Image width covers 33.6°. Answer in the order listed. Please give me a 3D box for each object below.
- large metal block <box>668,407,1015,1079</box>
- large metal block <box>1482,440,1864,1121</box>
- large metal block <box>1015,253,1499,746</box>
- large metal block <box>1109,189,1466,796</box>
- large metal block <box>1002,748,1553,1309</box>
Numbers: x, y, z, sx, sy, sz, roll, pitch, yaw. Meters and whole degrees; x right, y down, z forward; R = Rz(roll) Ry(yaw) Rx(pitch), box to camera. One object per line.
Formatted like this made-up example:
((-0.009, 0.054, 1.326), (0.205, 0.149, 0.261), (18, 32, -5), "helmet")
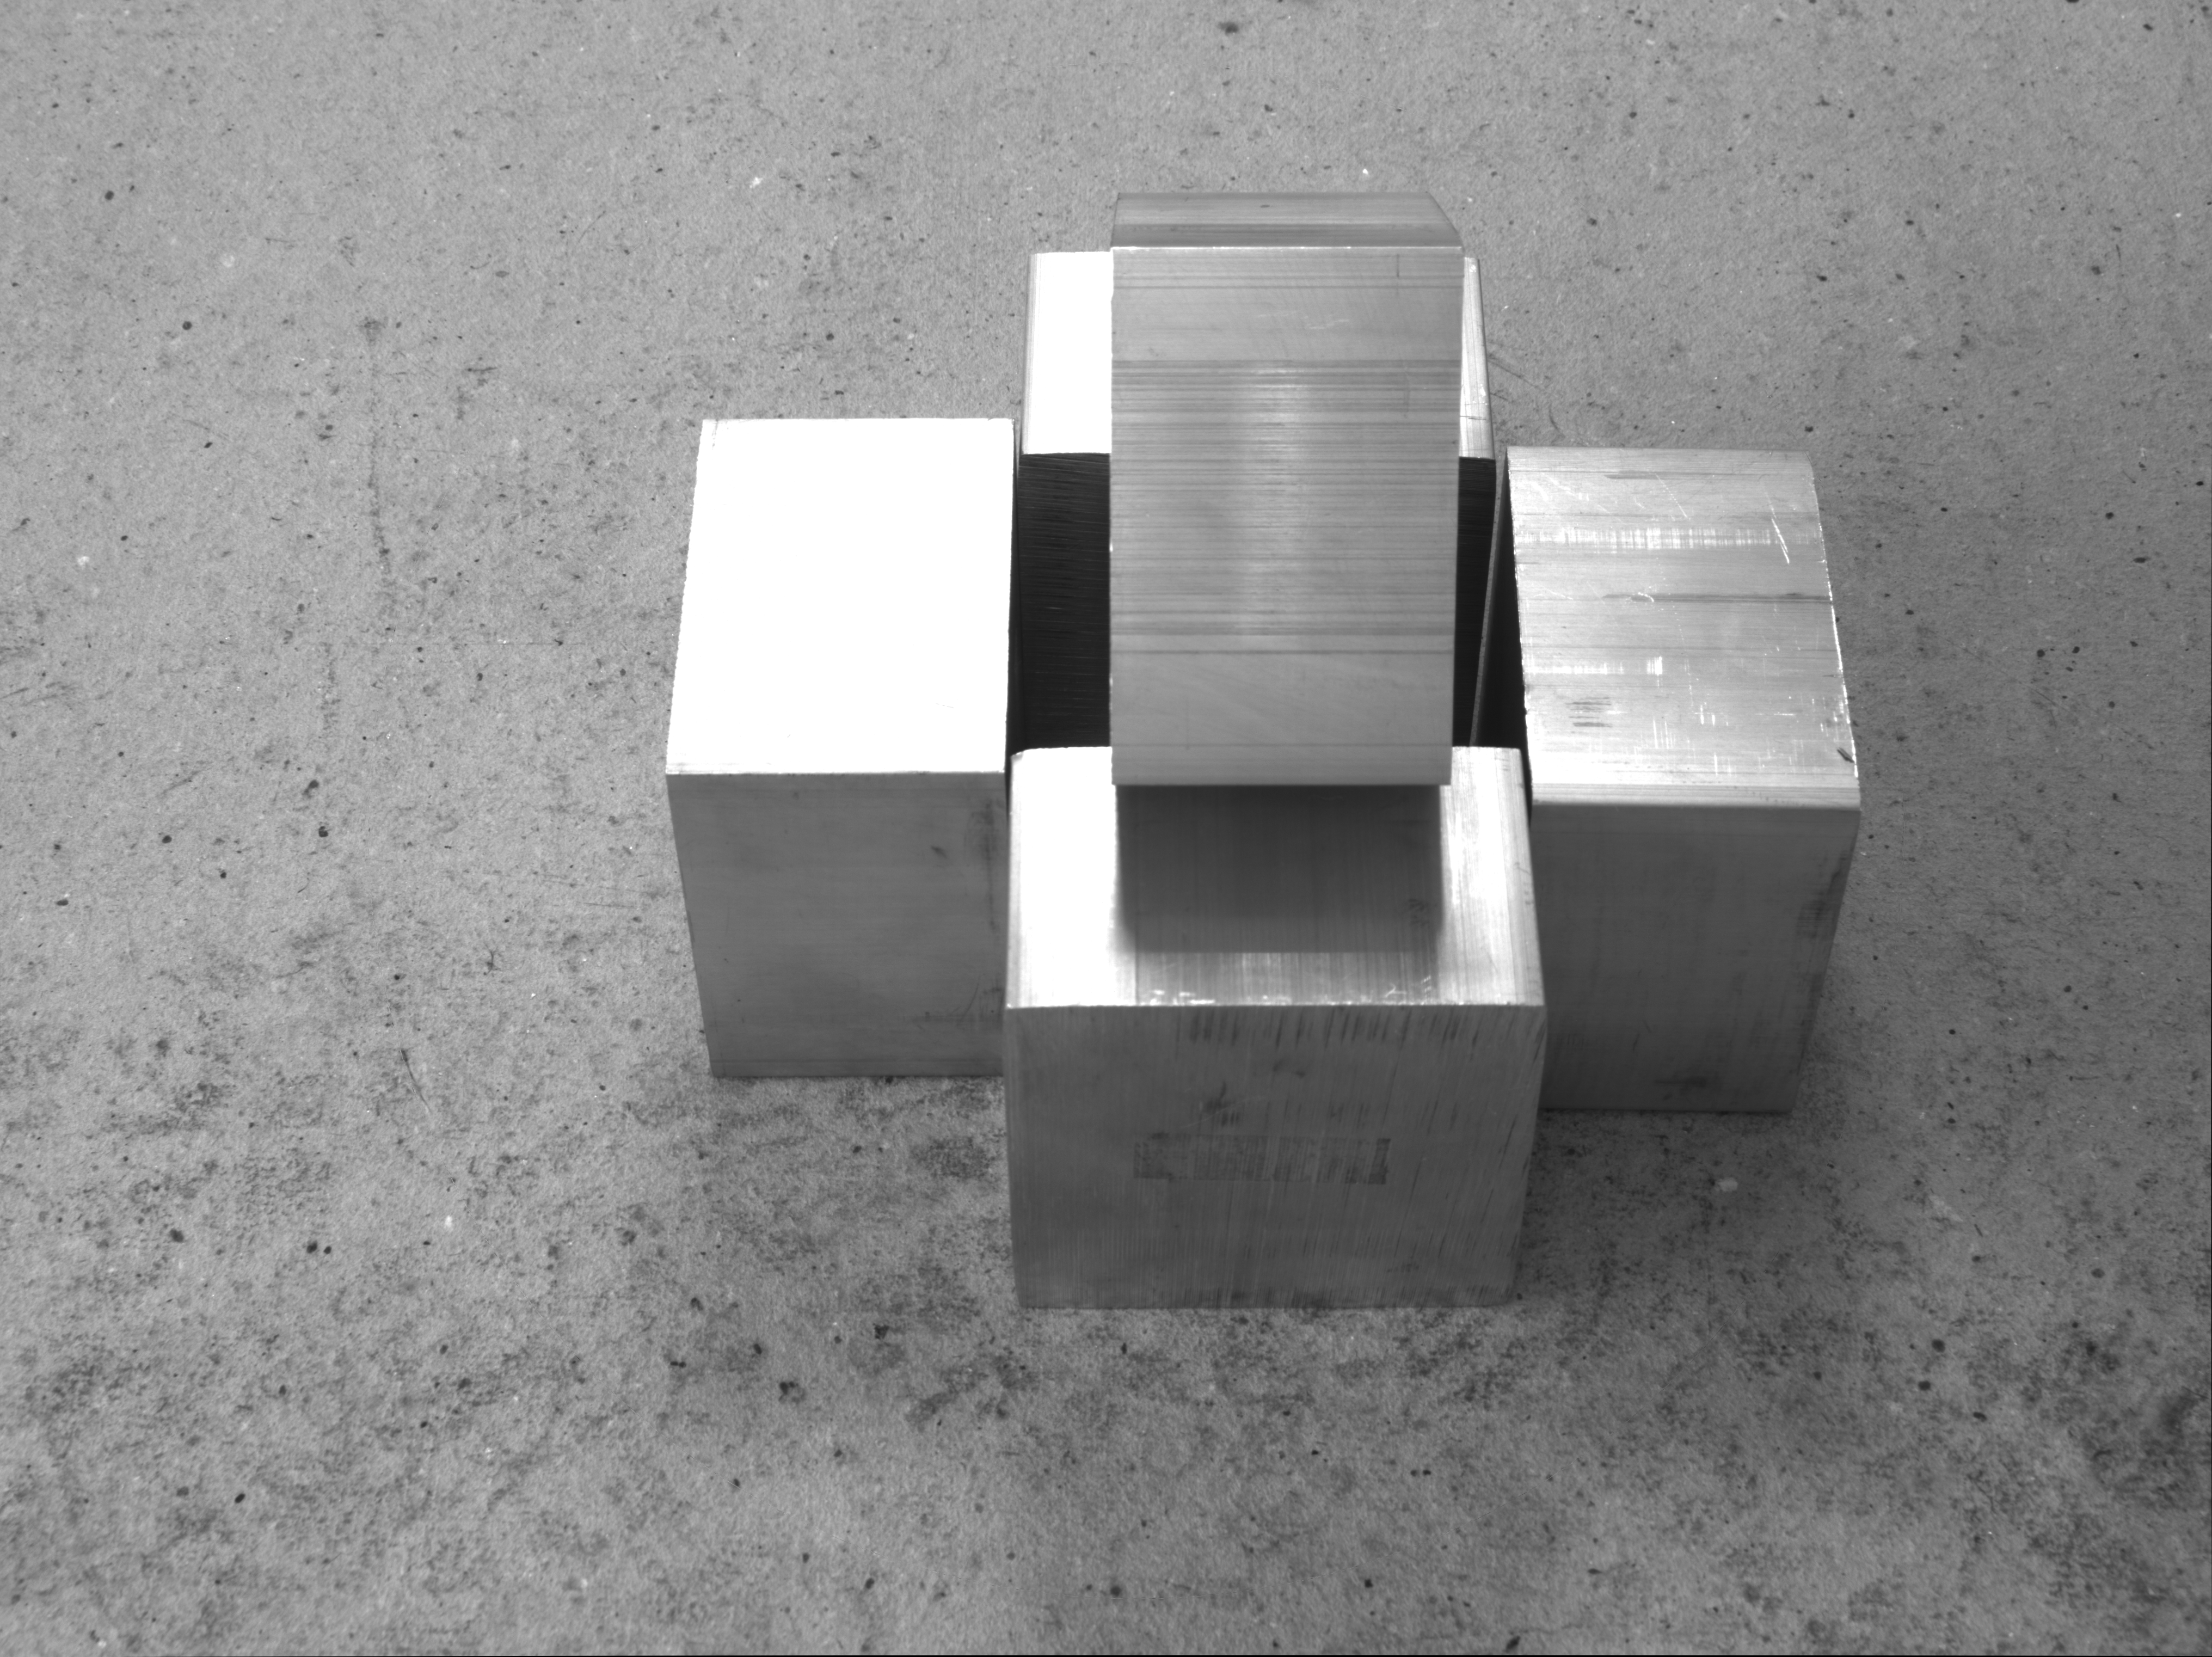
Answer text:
((-0.041, -0.014, 0.616), (0.050, 0.080, 0.080), (0, 50, 0), "large metal block")
((0.091, -0.008, 0.612), (0.050, 0.080, 0.080), (1, 50, 1), "large metal block")
((0.026, -0.055, 0.653), (0.080, 0.080, 0.050), (1, 50, 1), "large metal block")
((0.026, -0.054, 0.567), (0.050, 0.080, 0.080), (1, 16, 1), "large metal block")
((0.025, 0.033, 0.579), (0.080, 0.080, 0.050), (0, 50, 0), "large metal block")
